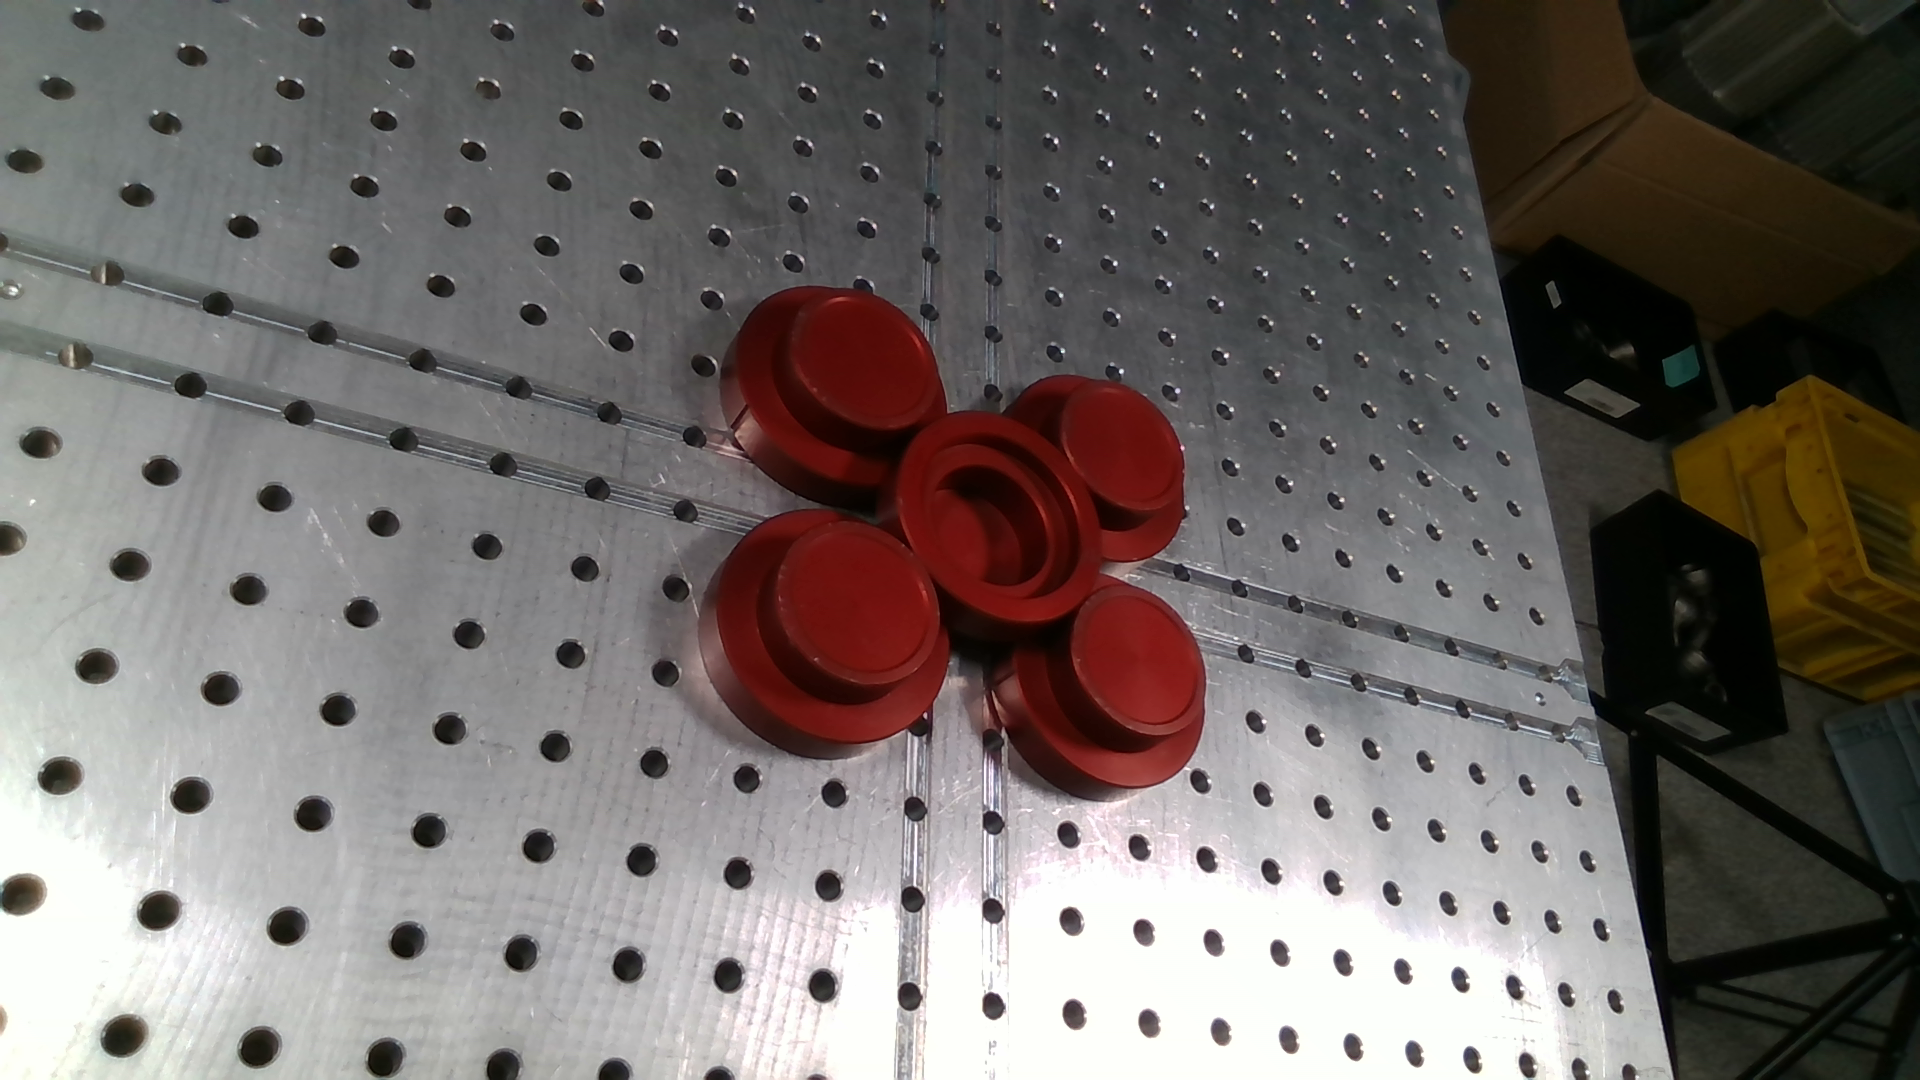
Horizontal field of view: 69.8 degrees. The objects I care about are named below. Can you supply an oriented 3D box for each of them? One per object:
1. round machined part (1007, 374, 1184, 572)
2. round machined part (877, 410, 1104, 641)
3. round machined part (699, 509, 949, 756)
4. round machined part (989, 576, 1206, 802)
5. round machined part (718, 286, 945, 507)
[{"bbox_3d":[0.064,-0.035,0.635,0.098,0.042,0.098,14,59,-25],"label":"round machined part"},{"bbox_3d":[0.009,-0.003,0.583,0.098,0.042,0.098,14,59,-25],"label":"round machined part"},{"bbox_3d":[-0.047,0.031,0.532,0.098,0.042,0.098,14,59,-25],"label":"round machined part"},{"bbox_3d":[0.065,0.058,0.586,0.098,0.042,0.098,14,59,-25],"label":"round machined part"},{"bbox_3d":[-0.049,-0.067,0.584,0.098,0.042,0.098,14,59,-25],"label":"round machined part"}]
